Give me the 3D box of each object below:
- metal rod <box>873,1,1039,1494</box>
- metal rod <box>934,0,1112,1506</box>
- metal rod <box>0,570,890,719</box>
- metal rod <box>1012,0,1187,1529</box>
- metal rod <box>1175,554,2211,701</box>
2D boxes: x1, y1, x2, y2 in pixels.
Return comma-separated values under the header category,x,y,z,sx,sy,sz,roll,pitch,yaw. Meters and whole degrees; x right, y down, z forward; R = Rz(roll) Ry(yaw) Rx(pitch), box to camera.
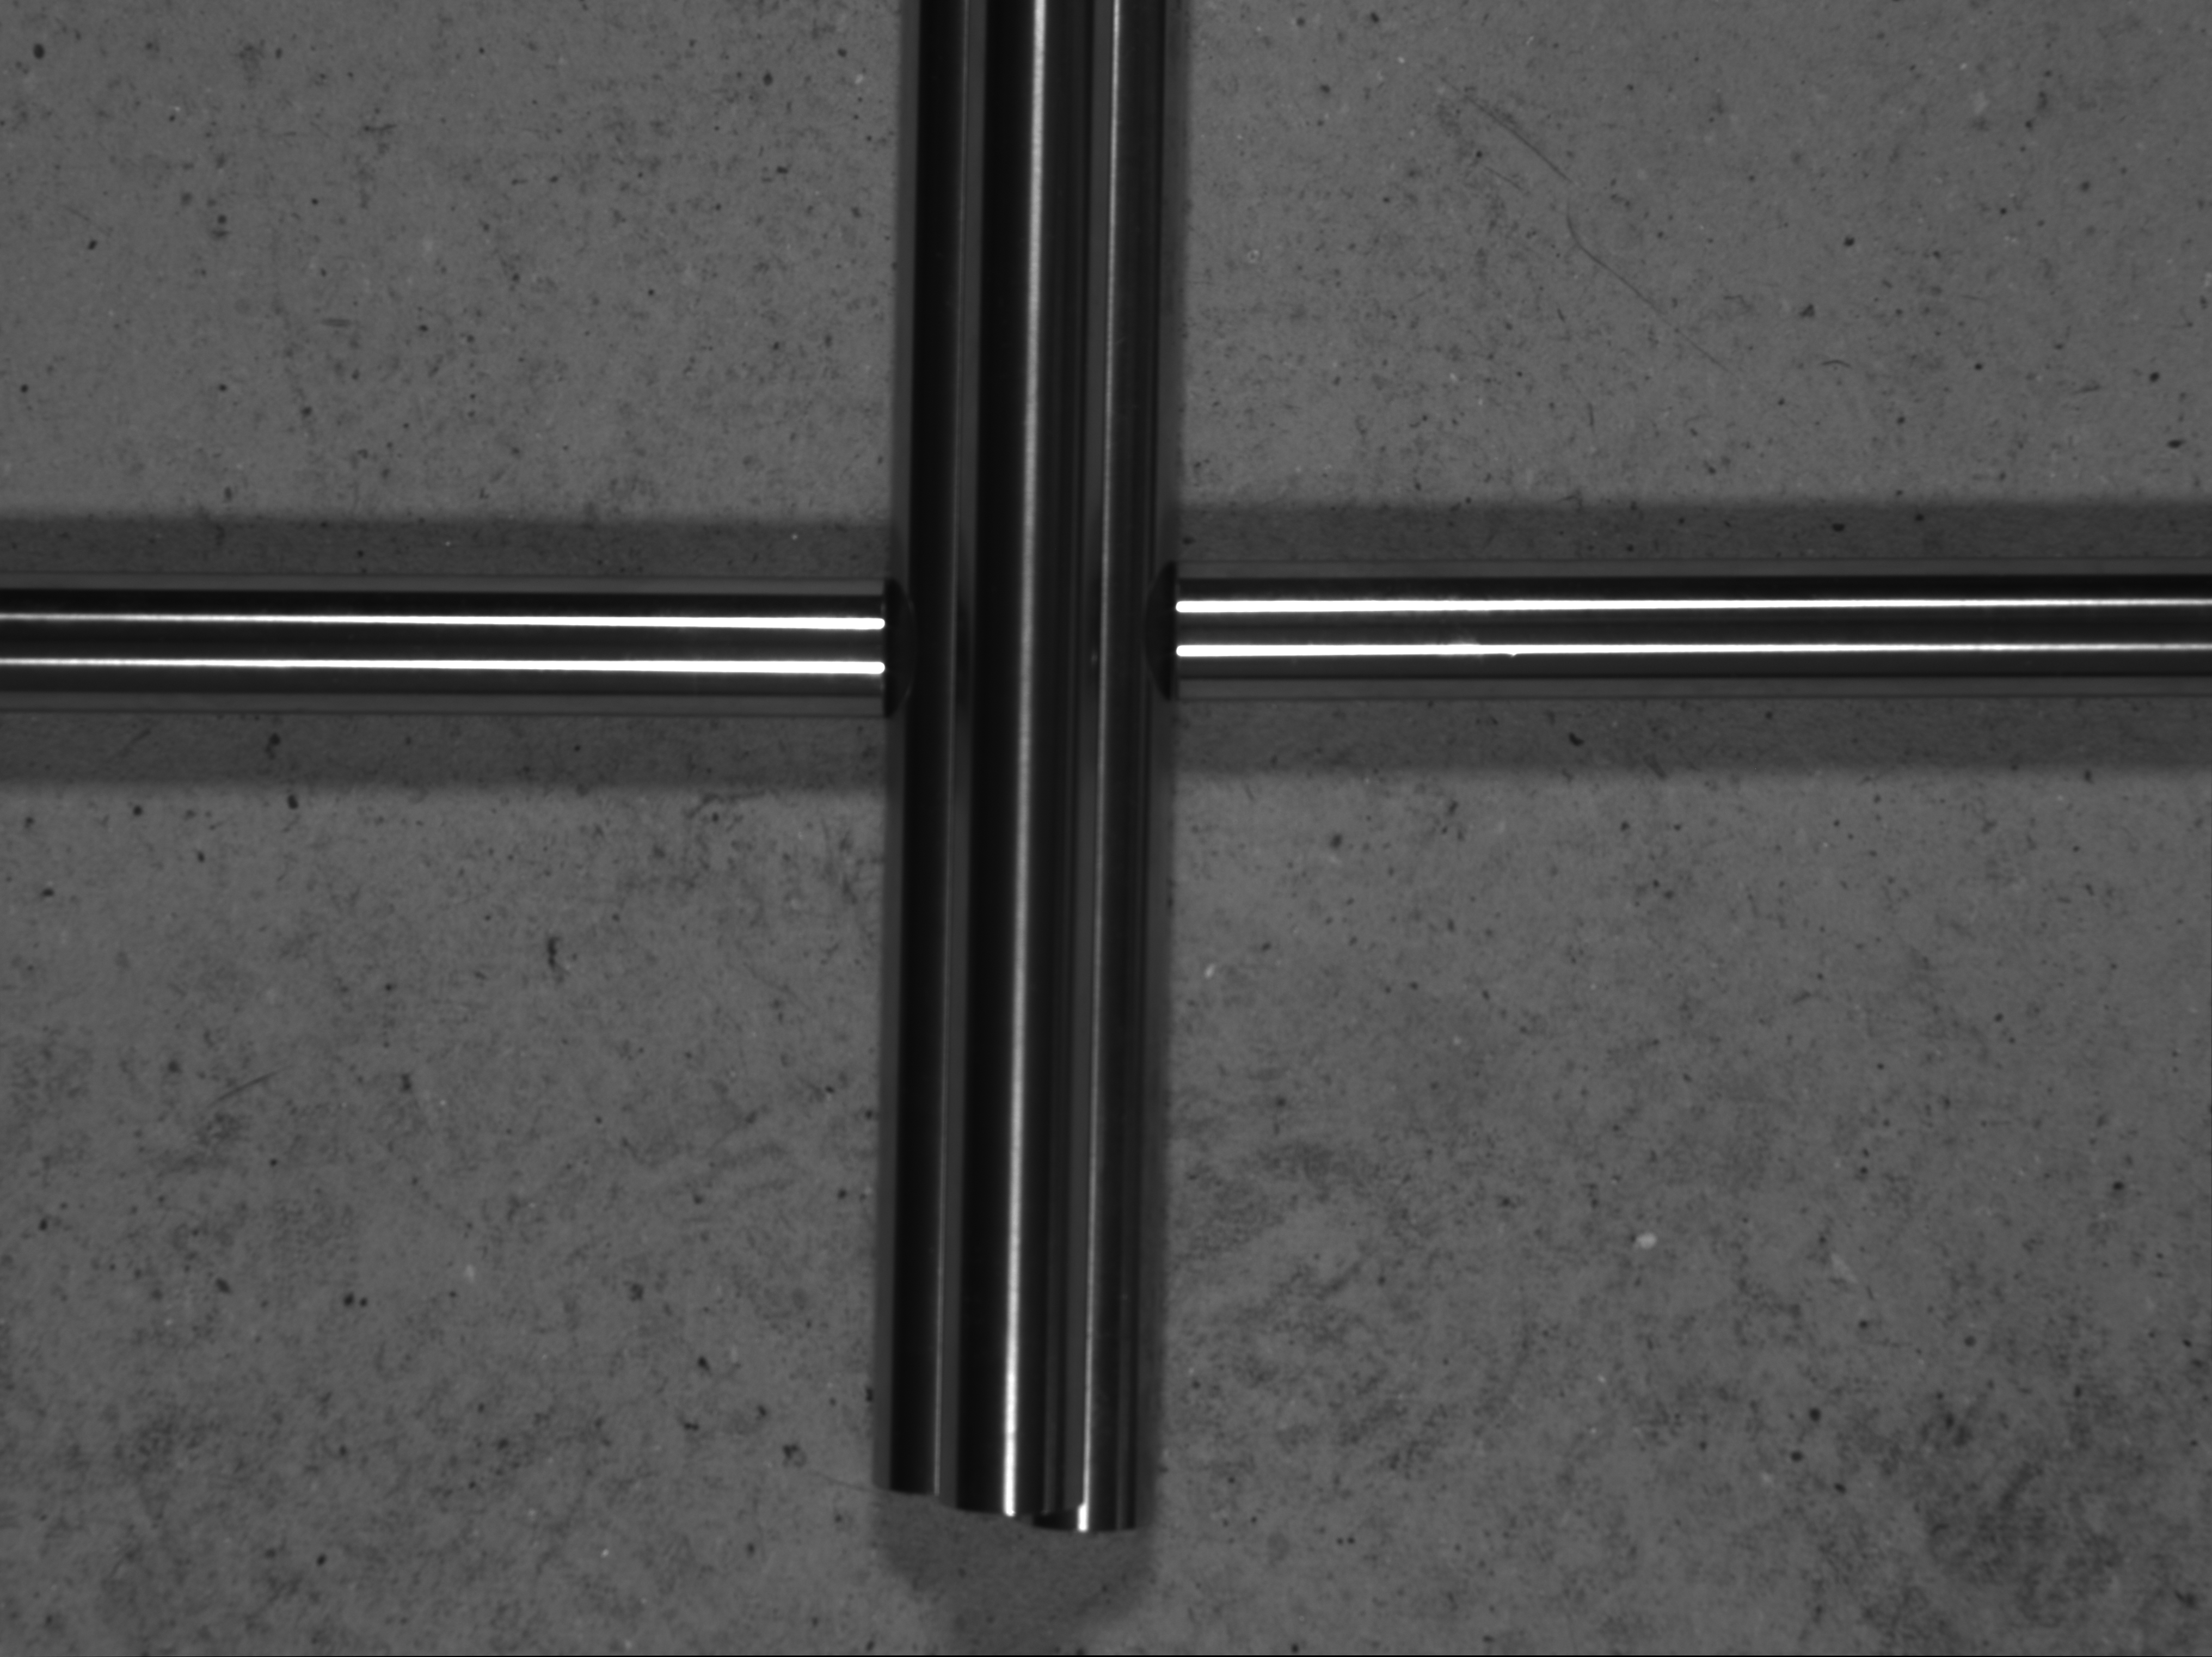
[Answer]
category,x,y,z,sx,sy,sz,roll,pitch,yaw
metal rod,-0.025,-0.035,0.646,0.025,0.025,0.300,1,90,0
metal rod,-0.014,-0.037,0.625,0.025,0.025,0.300,1,90,0
metal rod,-0.188,-0.033,0.643,0.300,0.025,0.025,0,90,-1
metal rod,-0.001,-0.029,0.646,0.025,0.025,0.300,1,90,0
metal rod,0.162,-0.036,0.647,0.300,0.025,0.025,0,90,-1
